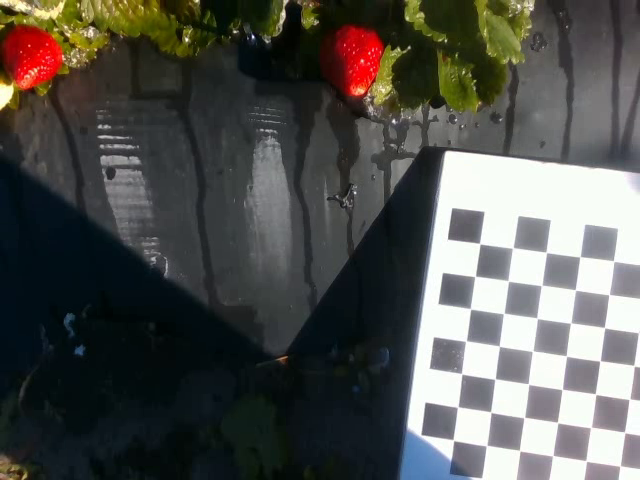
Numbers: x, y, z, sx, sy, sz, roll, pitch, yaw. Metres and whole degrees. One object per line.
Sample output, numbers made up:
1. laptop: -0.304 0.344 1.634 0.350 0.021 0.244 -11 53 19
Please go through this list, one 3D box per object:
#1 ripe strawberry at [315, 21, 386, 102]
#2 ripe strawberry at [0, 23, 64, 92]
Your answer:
1. ripe strawberry: 0.019 -0.099 0.317 0.041 0.053 0.047 1 -41 4
2. ripe strawberry: -0.178 -0.106 0.331 0.037 0.040 0.051 -7 39 4
